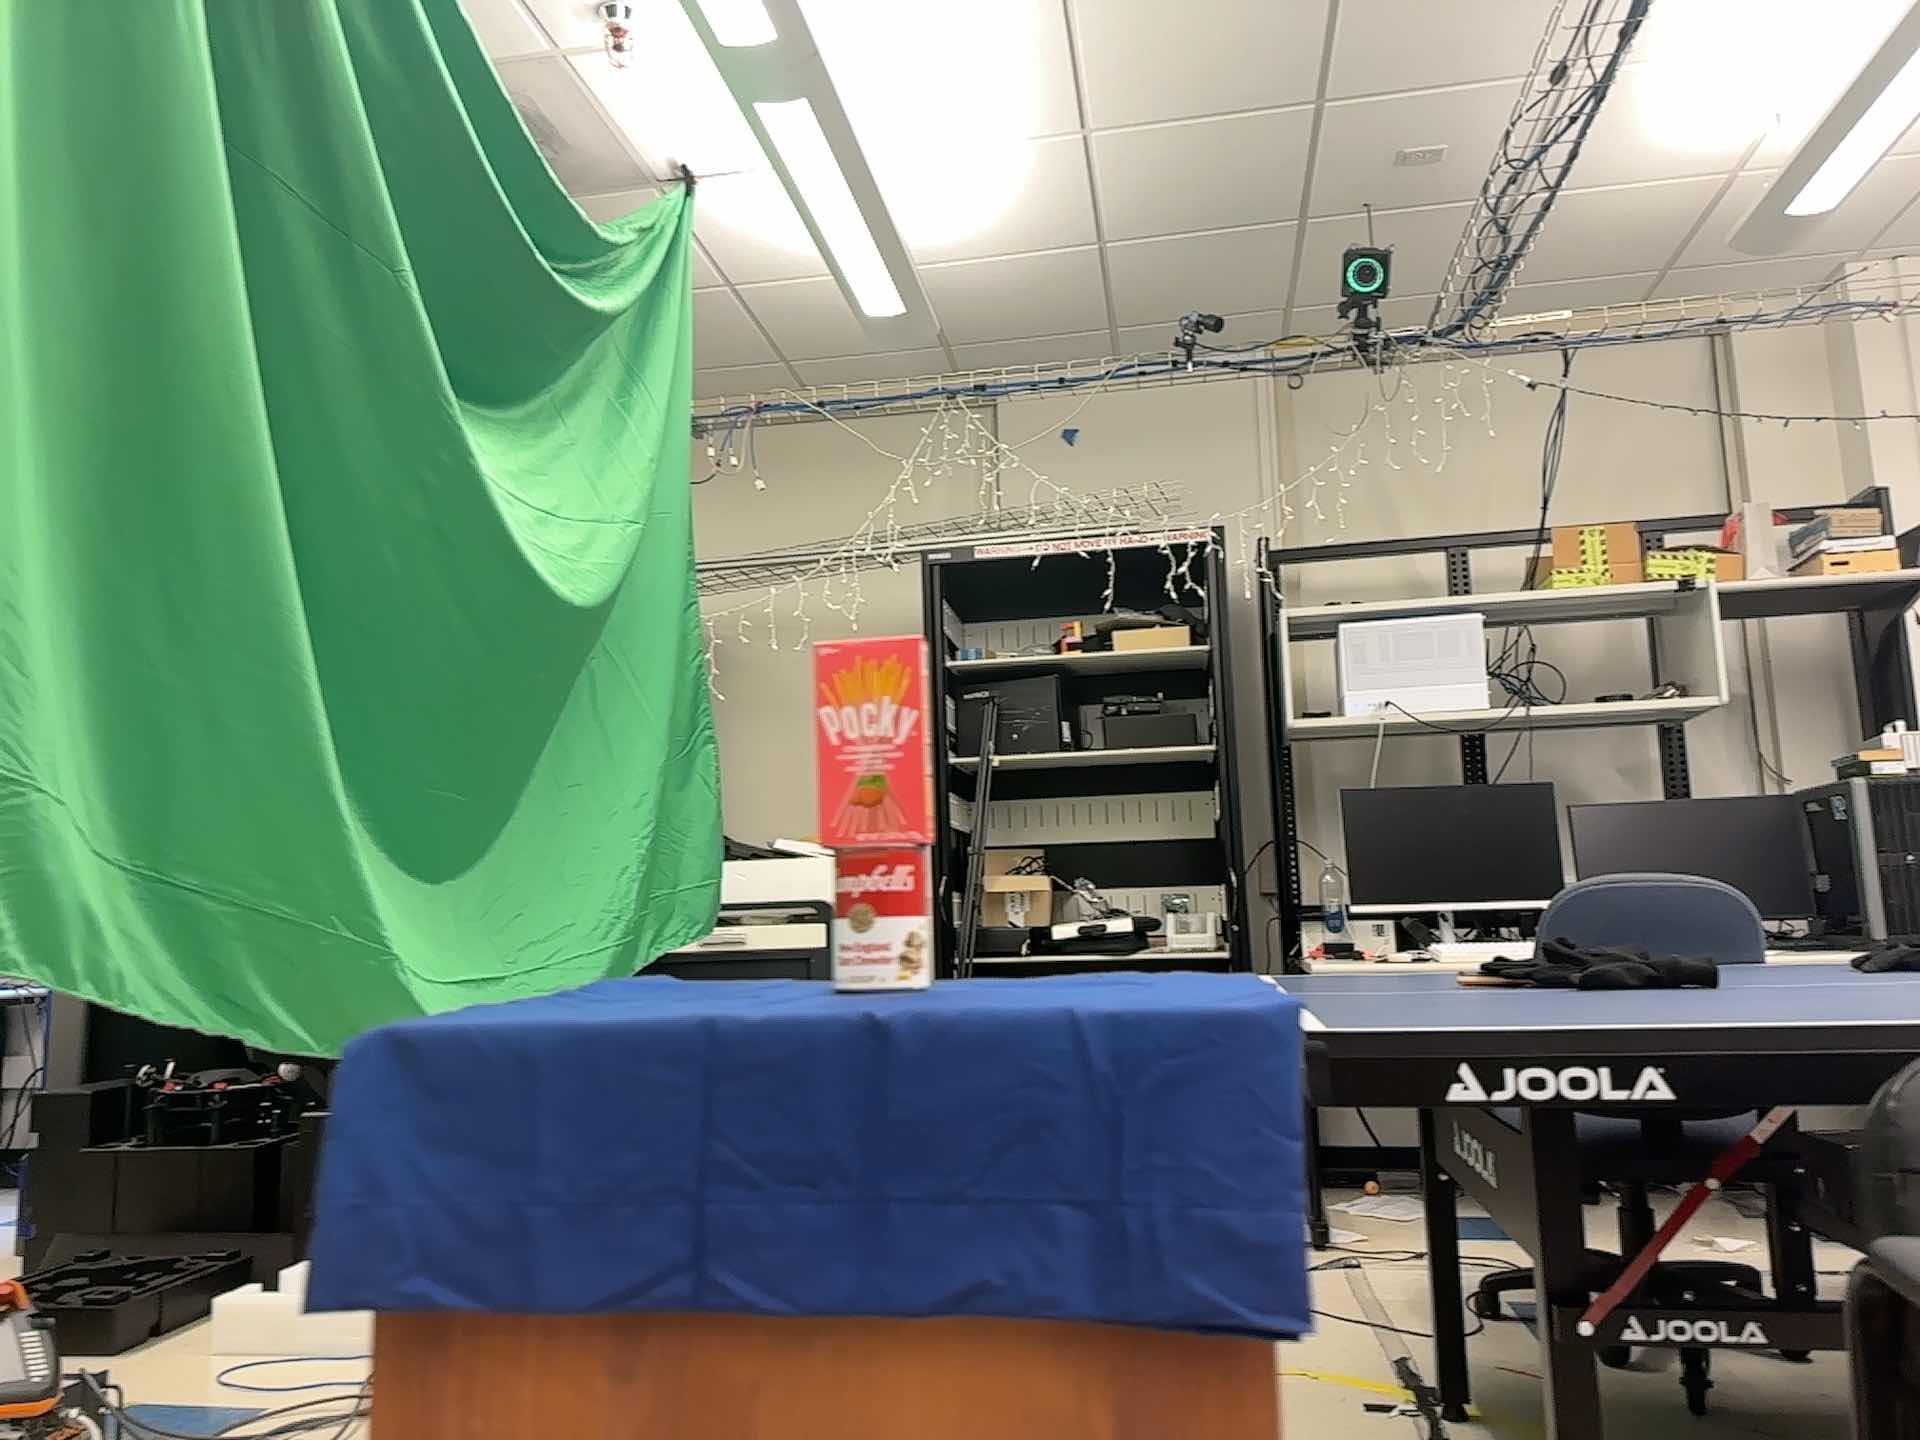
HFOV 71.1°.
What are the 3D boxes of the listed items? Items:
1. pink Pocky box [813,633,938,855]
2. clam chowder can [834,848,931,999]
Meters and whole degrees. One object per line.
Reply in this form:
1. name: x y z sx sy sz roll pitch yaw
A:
1. pink Pocky box: -0.062 0.017 0.966 0.084 0.155 0.029 -4 -8 15
2. clam chowder can: -0.055 0.144 0.950 0.068 0.102 0.068 -1 -9 0
